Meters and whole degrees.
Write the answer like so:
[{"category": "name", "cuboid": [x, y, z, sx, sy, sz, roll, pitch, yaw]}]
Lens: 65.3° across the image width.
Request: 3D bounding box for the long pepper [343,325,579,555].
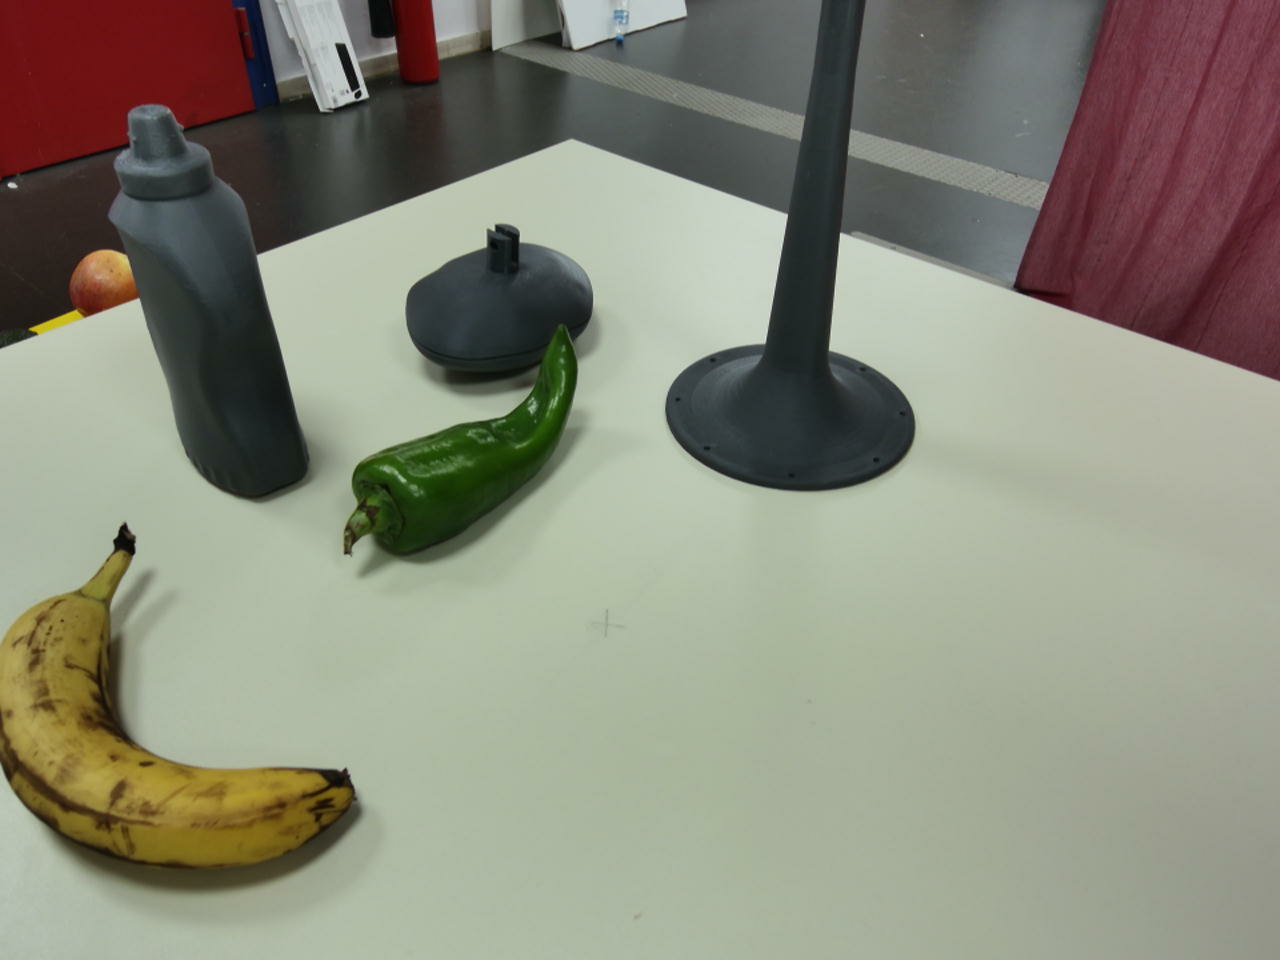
[{"category": "long pepper", "cuboid": [-0.086, -0.019, 0.518, 0.058, 0.065, 0.175, 26, 44, 29]}]
